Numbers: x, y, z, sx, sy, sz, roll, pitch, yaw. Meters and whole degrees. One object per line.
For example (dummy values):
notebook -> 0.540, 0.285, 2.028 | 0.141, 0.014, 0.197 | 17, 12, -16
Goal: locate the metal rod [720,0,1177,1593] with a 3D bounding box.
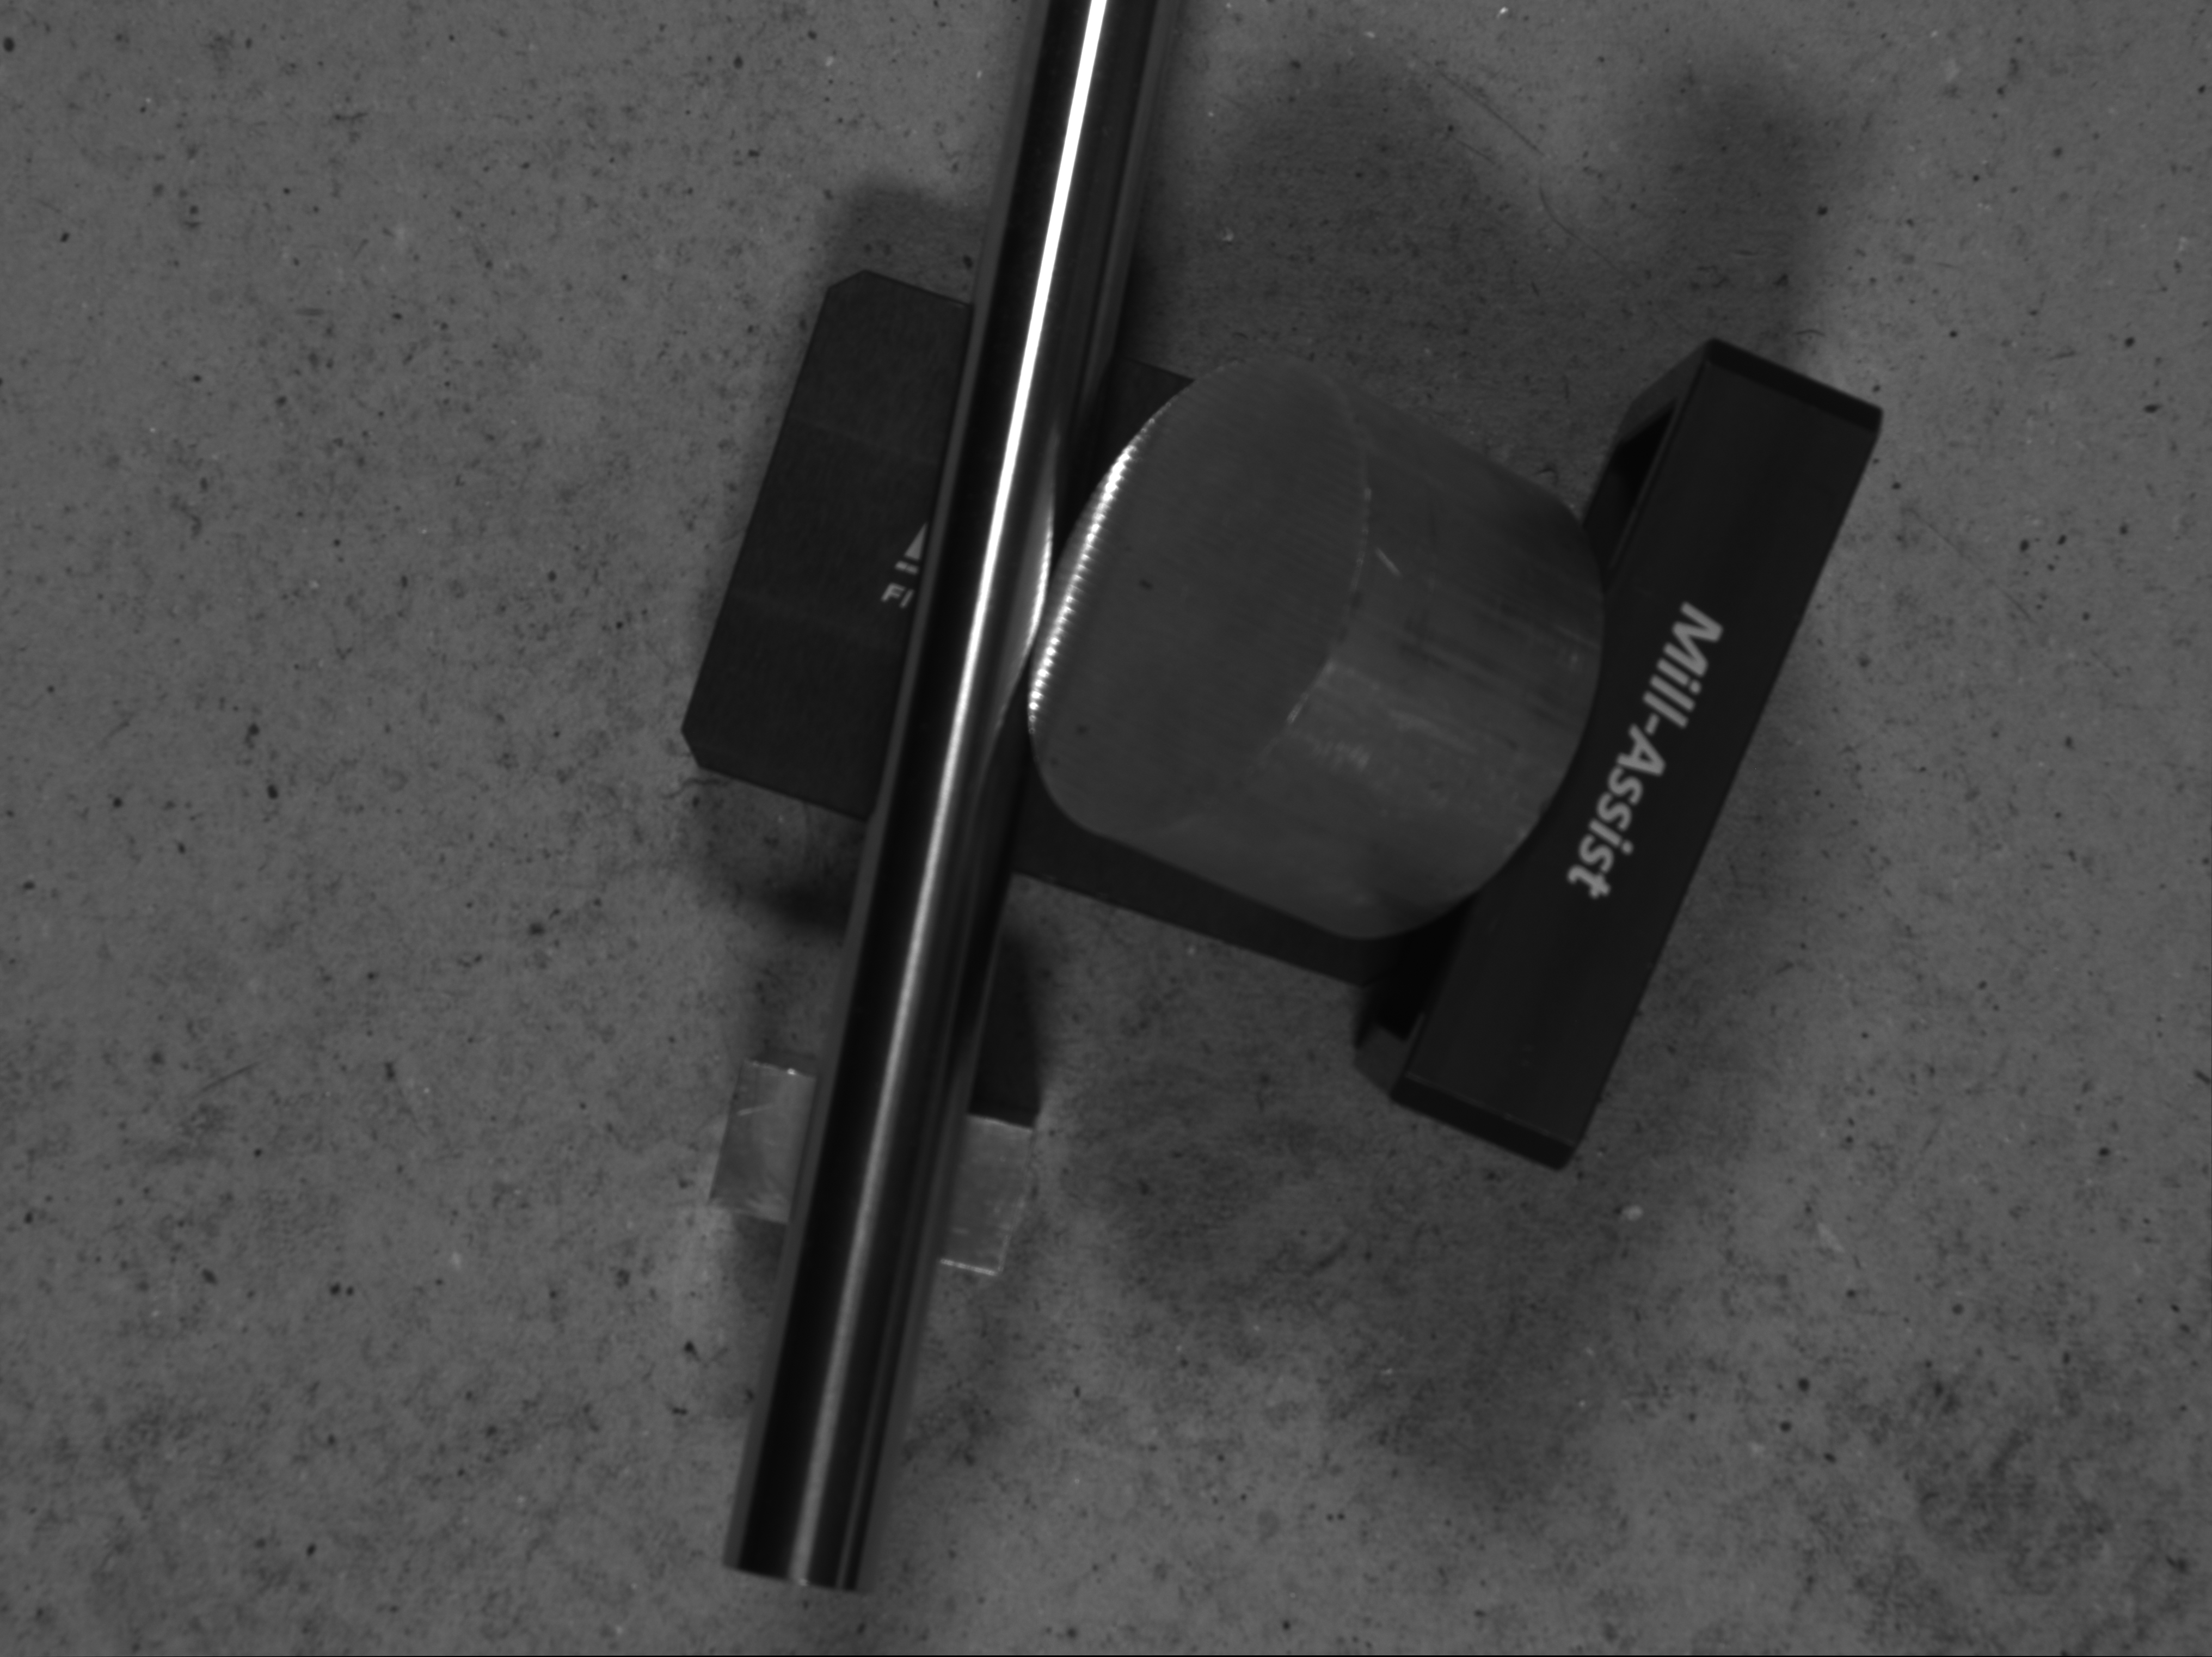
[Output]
metal rod -> -0.022, -0.026, 0.606 | 0.025, 0.025, 0.300 | 11, 81, 0

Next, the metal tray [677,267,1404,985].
metal tray -> 0.001, -0.035, 0.642 | 0.130, 0.030, 0.090 | 18, 90, 0

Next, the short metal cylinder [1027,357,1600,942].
short metal cylinder -> 0.032, -0.028, 0.581 | 0.050, 0.080, 0.080 | 23, 90, -33

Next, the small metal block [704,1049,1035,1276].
small metal block -> -0.040, 0.057, 0.632 | 0.050, 0.050, 0.025 | 13, 90, 0

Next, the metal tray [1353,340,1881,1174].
metal tray -> 0.083, -0.011, 0.613 | 0.030, 0.090, 0.130 | 23, 90, 0
